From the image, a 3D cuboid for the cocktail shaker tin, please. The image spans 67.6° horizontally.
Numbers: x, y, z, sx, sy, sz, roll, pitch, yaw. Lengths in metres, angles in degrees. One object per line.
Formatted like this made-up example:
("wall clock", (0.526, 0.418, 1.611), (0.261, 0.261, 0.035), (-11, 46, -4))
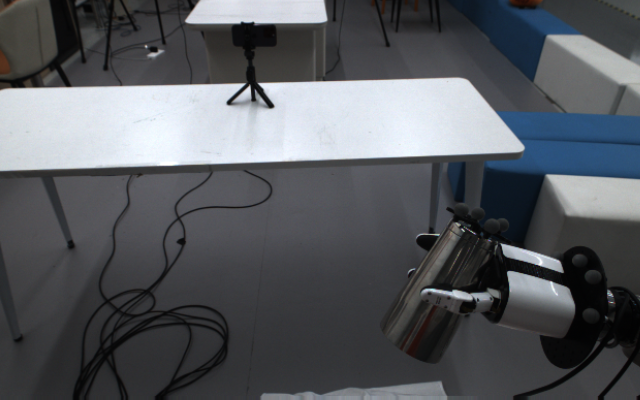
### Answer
("cocktail shaker tin", (0.160, 0.110, 0.627), (0.093, 0.170, 0.093), (24, 13, -6))
